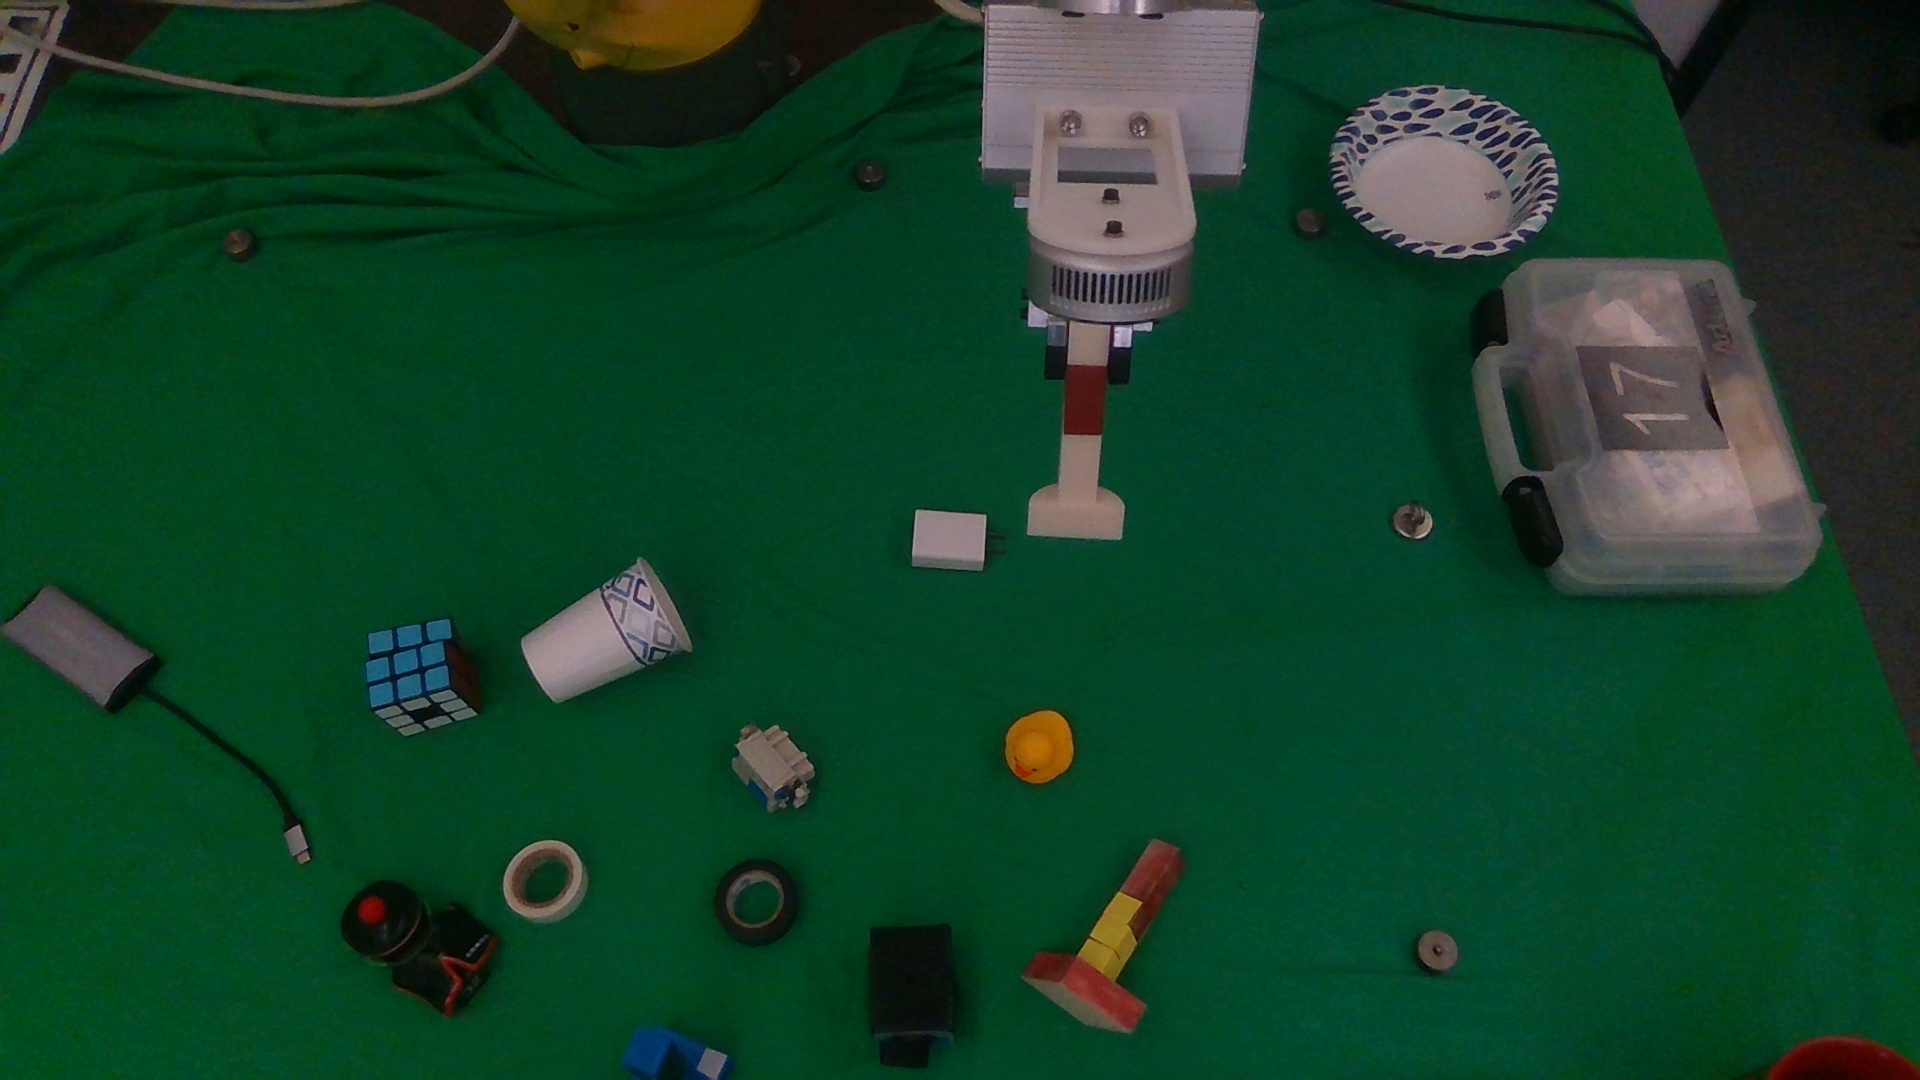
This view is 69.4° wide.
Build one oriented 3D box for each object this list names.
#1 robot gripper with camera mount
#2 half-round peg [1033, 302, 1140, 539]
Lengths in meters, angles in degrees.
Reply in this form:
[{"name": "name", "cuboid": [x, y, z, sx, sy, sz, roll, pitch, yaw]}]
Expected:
[{"name": "robot gripper with camera mount", "cuboid": [0.068, -0.122, 0.570, 0.119, 0.158, 0.193, 3, 30, 2]}, {"name": "half-round peg", "cuboid": [0.063, -0.058, 0.682, 0.054, 0.122, 0.031, -4, 35, -6]}]
